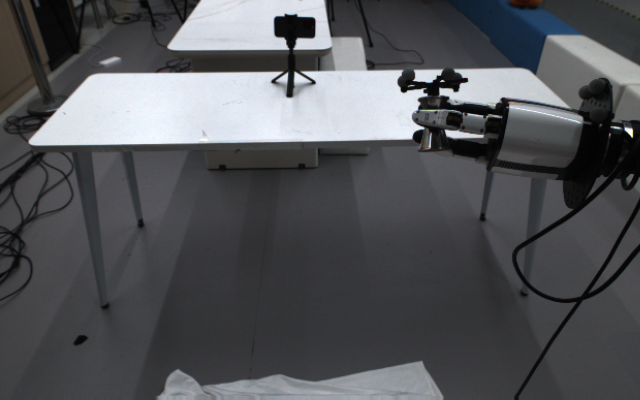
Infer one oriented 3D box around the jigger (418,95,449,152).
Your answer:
[{"bbox_3d":[0.147,-0.099,0.630,0.043,0.071,0.043,-2,3,0],"label":"jigger"}]
